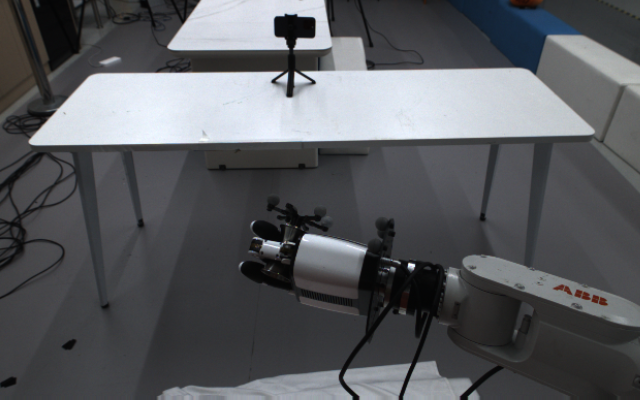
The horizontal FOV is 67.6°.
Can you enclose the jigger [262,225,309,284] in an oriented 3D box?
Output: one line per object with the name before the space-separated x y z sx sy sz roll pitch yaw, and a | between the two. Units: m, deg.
jigger | -0.043 0.071 0.644 0.043 0.043 0.071 13 70 16
